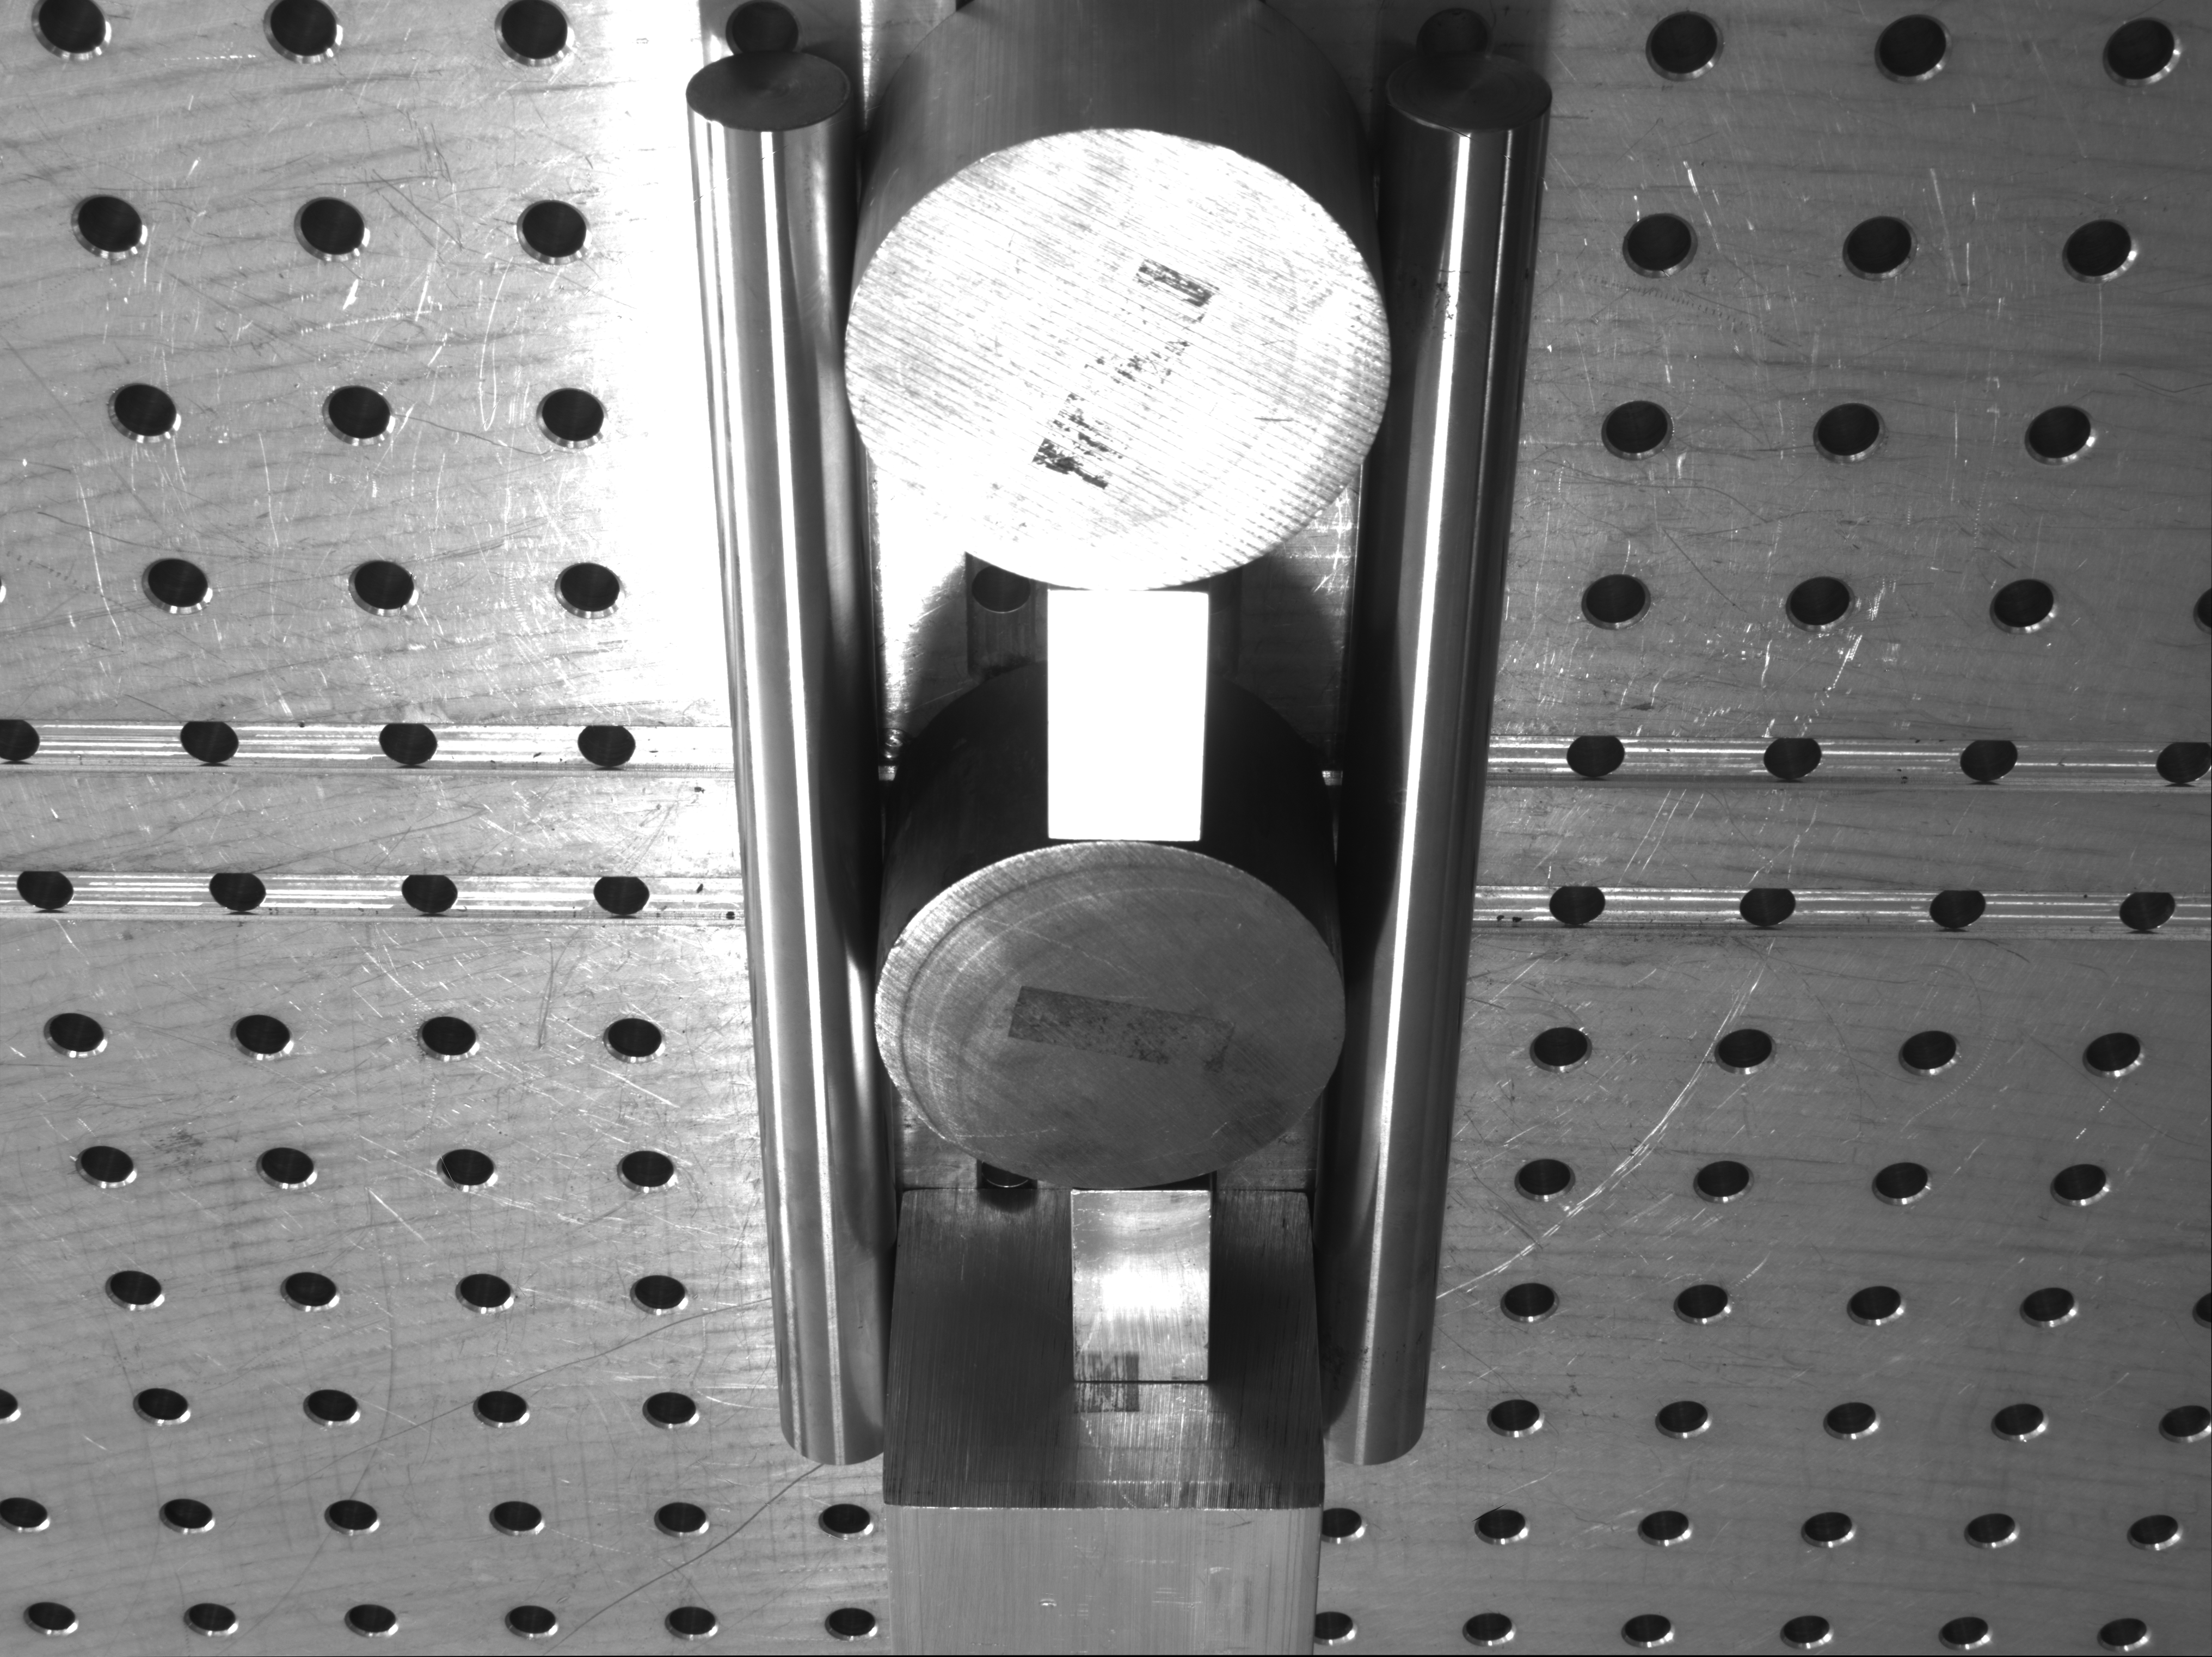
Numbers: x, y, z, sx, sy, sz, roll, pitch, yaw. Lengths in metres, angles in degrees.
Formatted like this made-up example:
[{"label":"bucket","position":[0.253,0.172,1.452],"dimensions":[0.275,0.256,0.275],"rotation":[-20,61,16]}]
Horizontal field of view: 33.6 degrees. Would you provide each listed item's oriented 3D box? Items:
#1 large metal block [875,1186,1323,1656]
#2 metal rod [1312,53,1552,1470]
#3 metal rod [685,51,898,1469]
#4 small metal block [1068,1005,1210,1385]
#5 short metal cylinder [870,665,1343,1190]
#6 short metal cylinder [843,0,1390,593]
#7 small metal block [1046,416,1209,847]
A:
[{"label":"large metal block","position":[-0.001,0.115,0.703],"dimensions":[0.080,0.080,0.050],"rotation":[1,130,0]},{"label":"metal rod","position":[0.053,0.005,0.645],"dimensions":[0.025,0.025,0.300],"rotation":[0,130,0]},{"label":"metal rod","position":[-0.052,0.005,0.645],"dimensions":[0.025,0.025,0.300],"rotation":[0,130,0]},{"label":"small metal block","position":[0.006,0.068,0.682],"dimensions":[0.025,0.050,0.050],"rotation":[0,130,0]},{"label":"short metal cylinder","position":[0.000,0.017,0.640],"dimensions":[0.080,0.050,0.080],"rotation":[0,130,0]},{"label":"short metal cylinder","position":[0.002,-0.083,0.556],"dimensions":[0.080,0.050,0.080],"rotation":[0,130,0]},{"label":"small metal block","position":[0.003,-0.032,0.597],"dimensions":[0.025,0.050,0.050],"rotation":[1,130,0]}]
